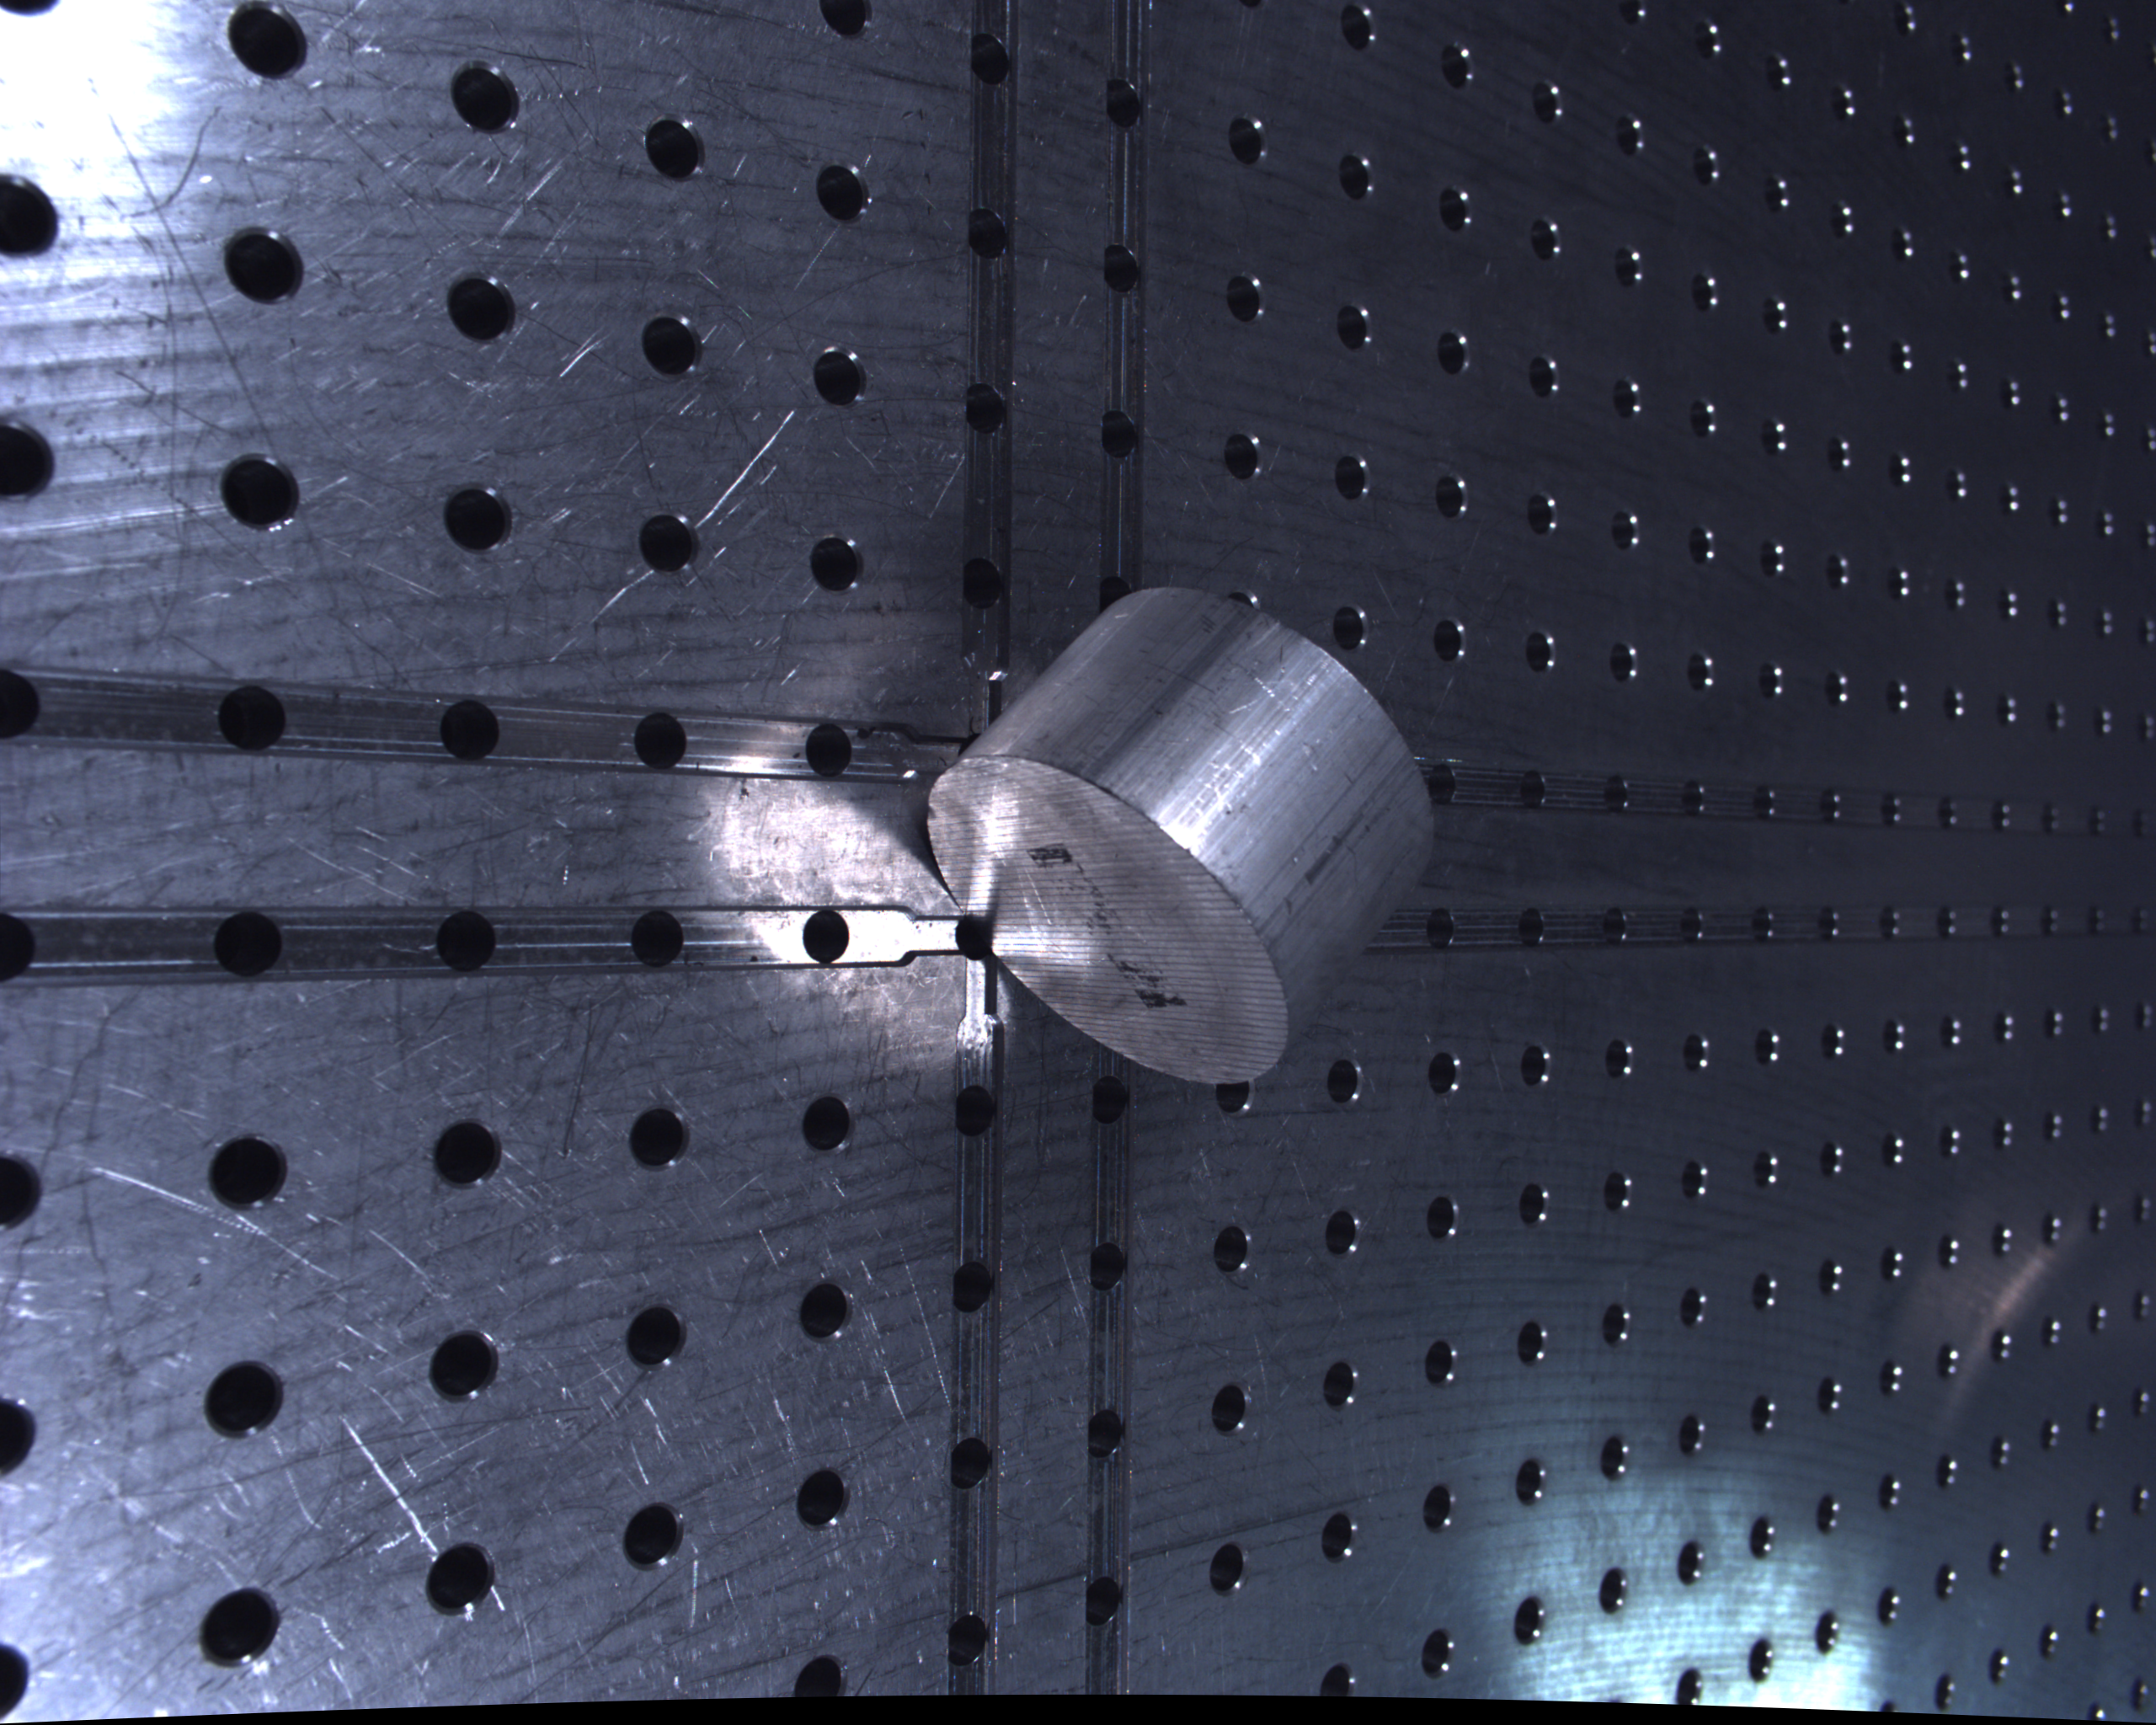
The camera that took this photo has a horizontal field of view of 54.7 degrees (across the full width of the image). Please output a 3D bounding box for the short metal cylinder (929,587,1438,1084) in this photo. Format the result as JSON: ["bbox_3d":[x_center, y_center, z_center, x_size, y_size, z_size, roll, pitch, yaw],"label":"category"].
[{"bbox_3d":[0.019,-0.005,0.391,0.050,0.080,0.080,-48,119,-29],"label":"short metal cylinder"}]
